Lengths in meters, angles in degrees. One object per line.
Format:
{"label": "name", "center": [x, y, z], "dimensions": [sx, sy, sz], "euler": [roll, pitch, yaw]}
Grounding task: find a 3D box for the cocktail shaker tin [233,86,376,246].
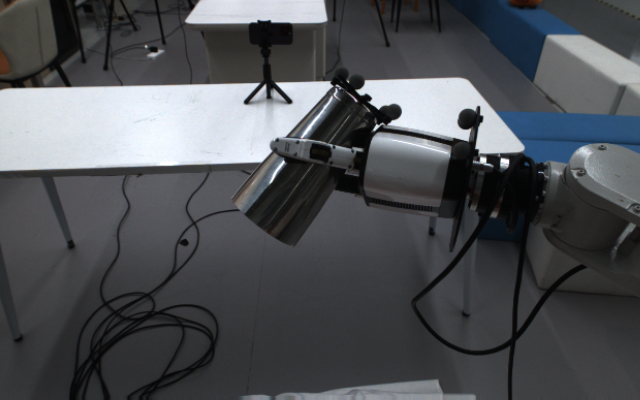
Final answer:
{"label": "cocktail shaker tin", "center": [-0.011, -0.045, 0.554], "dimensions": [0.170, 0.093, 0.093], "euler": [-50, 46, 4]}
